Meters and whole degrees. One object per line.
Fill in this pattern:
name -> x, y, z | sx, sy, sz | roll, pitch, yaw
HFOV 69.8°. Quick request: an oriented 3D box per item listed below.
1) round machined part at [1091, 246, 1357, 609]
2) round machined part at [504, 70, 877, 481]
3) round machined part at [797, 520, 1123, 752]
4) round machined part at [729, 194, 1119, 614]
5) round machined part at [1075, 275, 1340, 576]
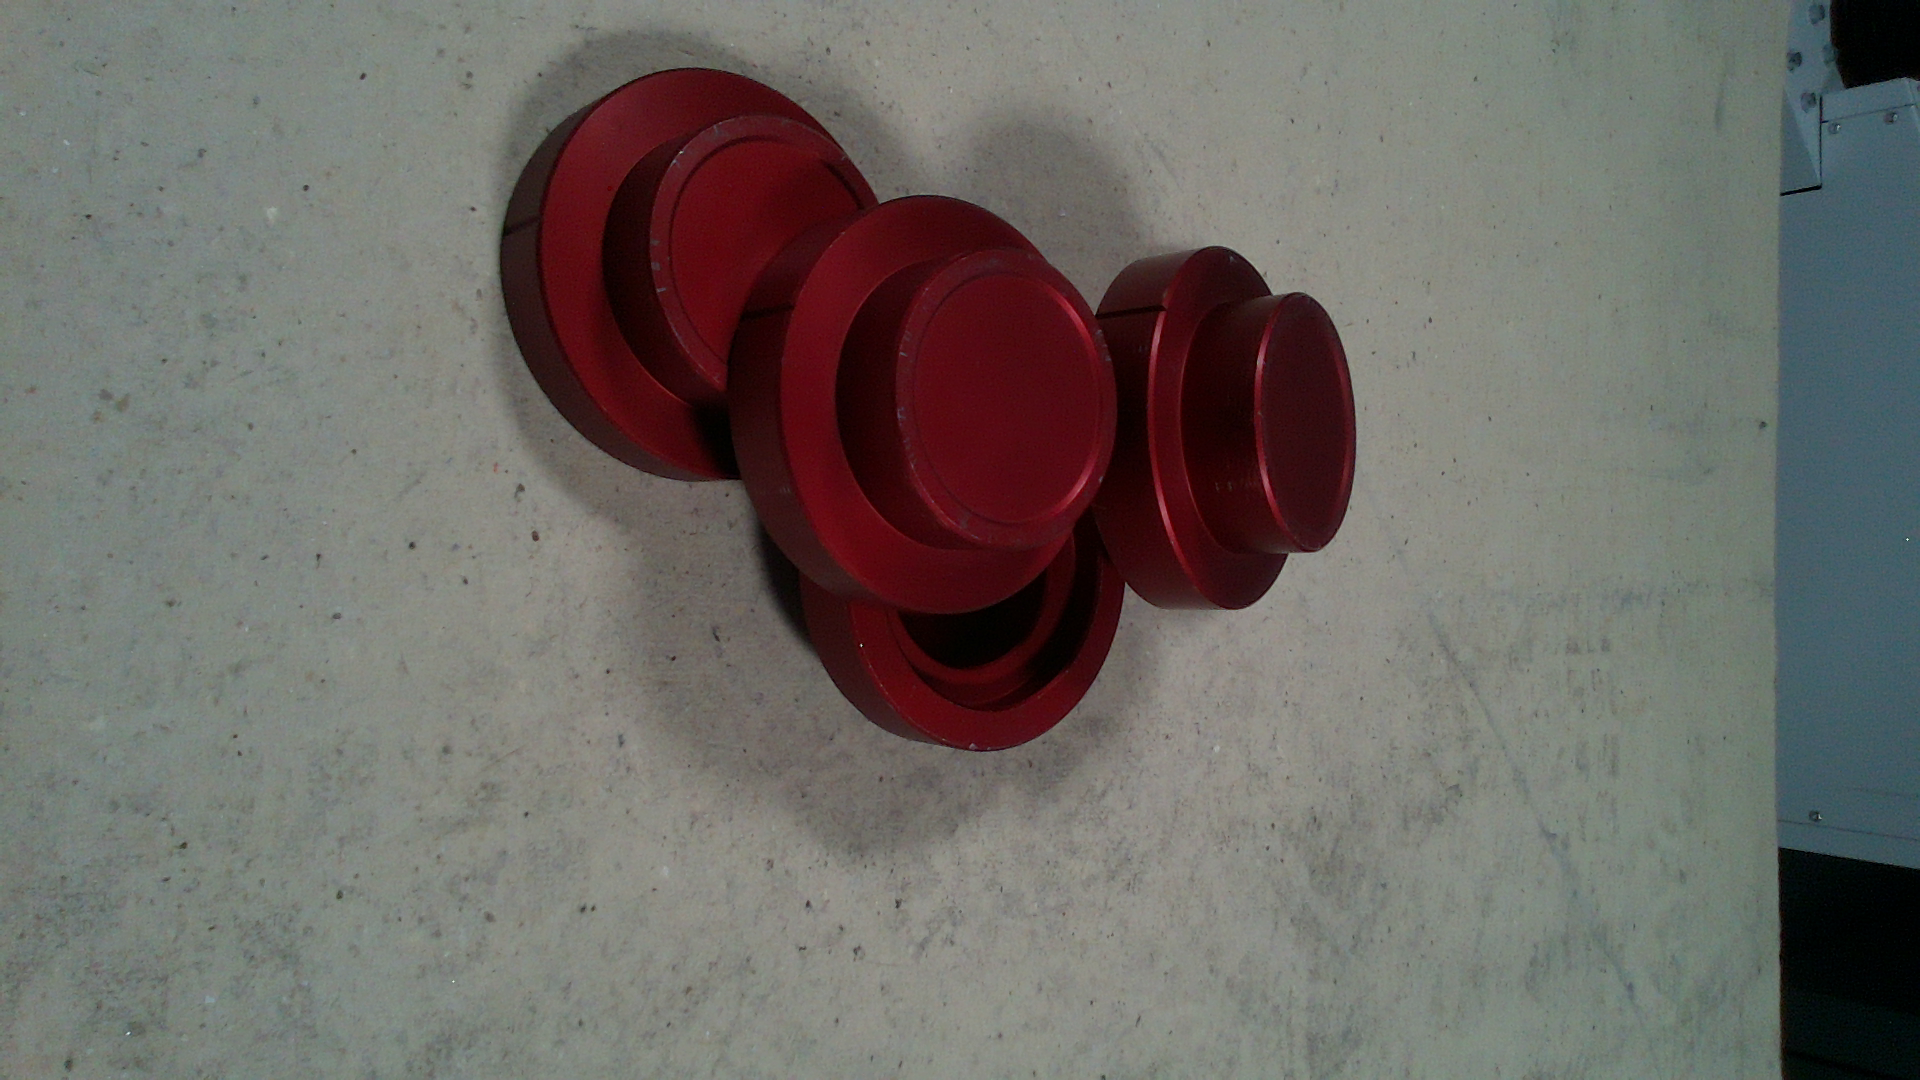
round machined part -> 0.075, -0.030, 0.372 | 0.098, 0.042, 0.098 | 3, 86, -53
round machined part -> -0.054, -0.064, 0.332 | 0.098, 0.042, 0.098 | 0, 90, -40
round machined part -> -0.004, 0.006, 0.375 | 0.098, 0.042, 0.098 | 0, 90, -40
round machined part -> -0.001, -0.032, 0.322 | 0.098, 0.042, 0.098 | 0, 90, -40
round machined part -> 0.087, -0.037, 0.449 | 0.098, 0.042, 0.098 | 0, 90, -40
